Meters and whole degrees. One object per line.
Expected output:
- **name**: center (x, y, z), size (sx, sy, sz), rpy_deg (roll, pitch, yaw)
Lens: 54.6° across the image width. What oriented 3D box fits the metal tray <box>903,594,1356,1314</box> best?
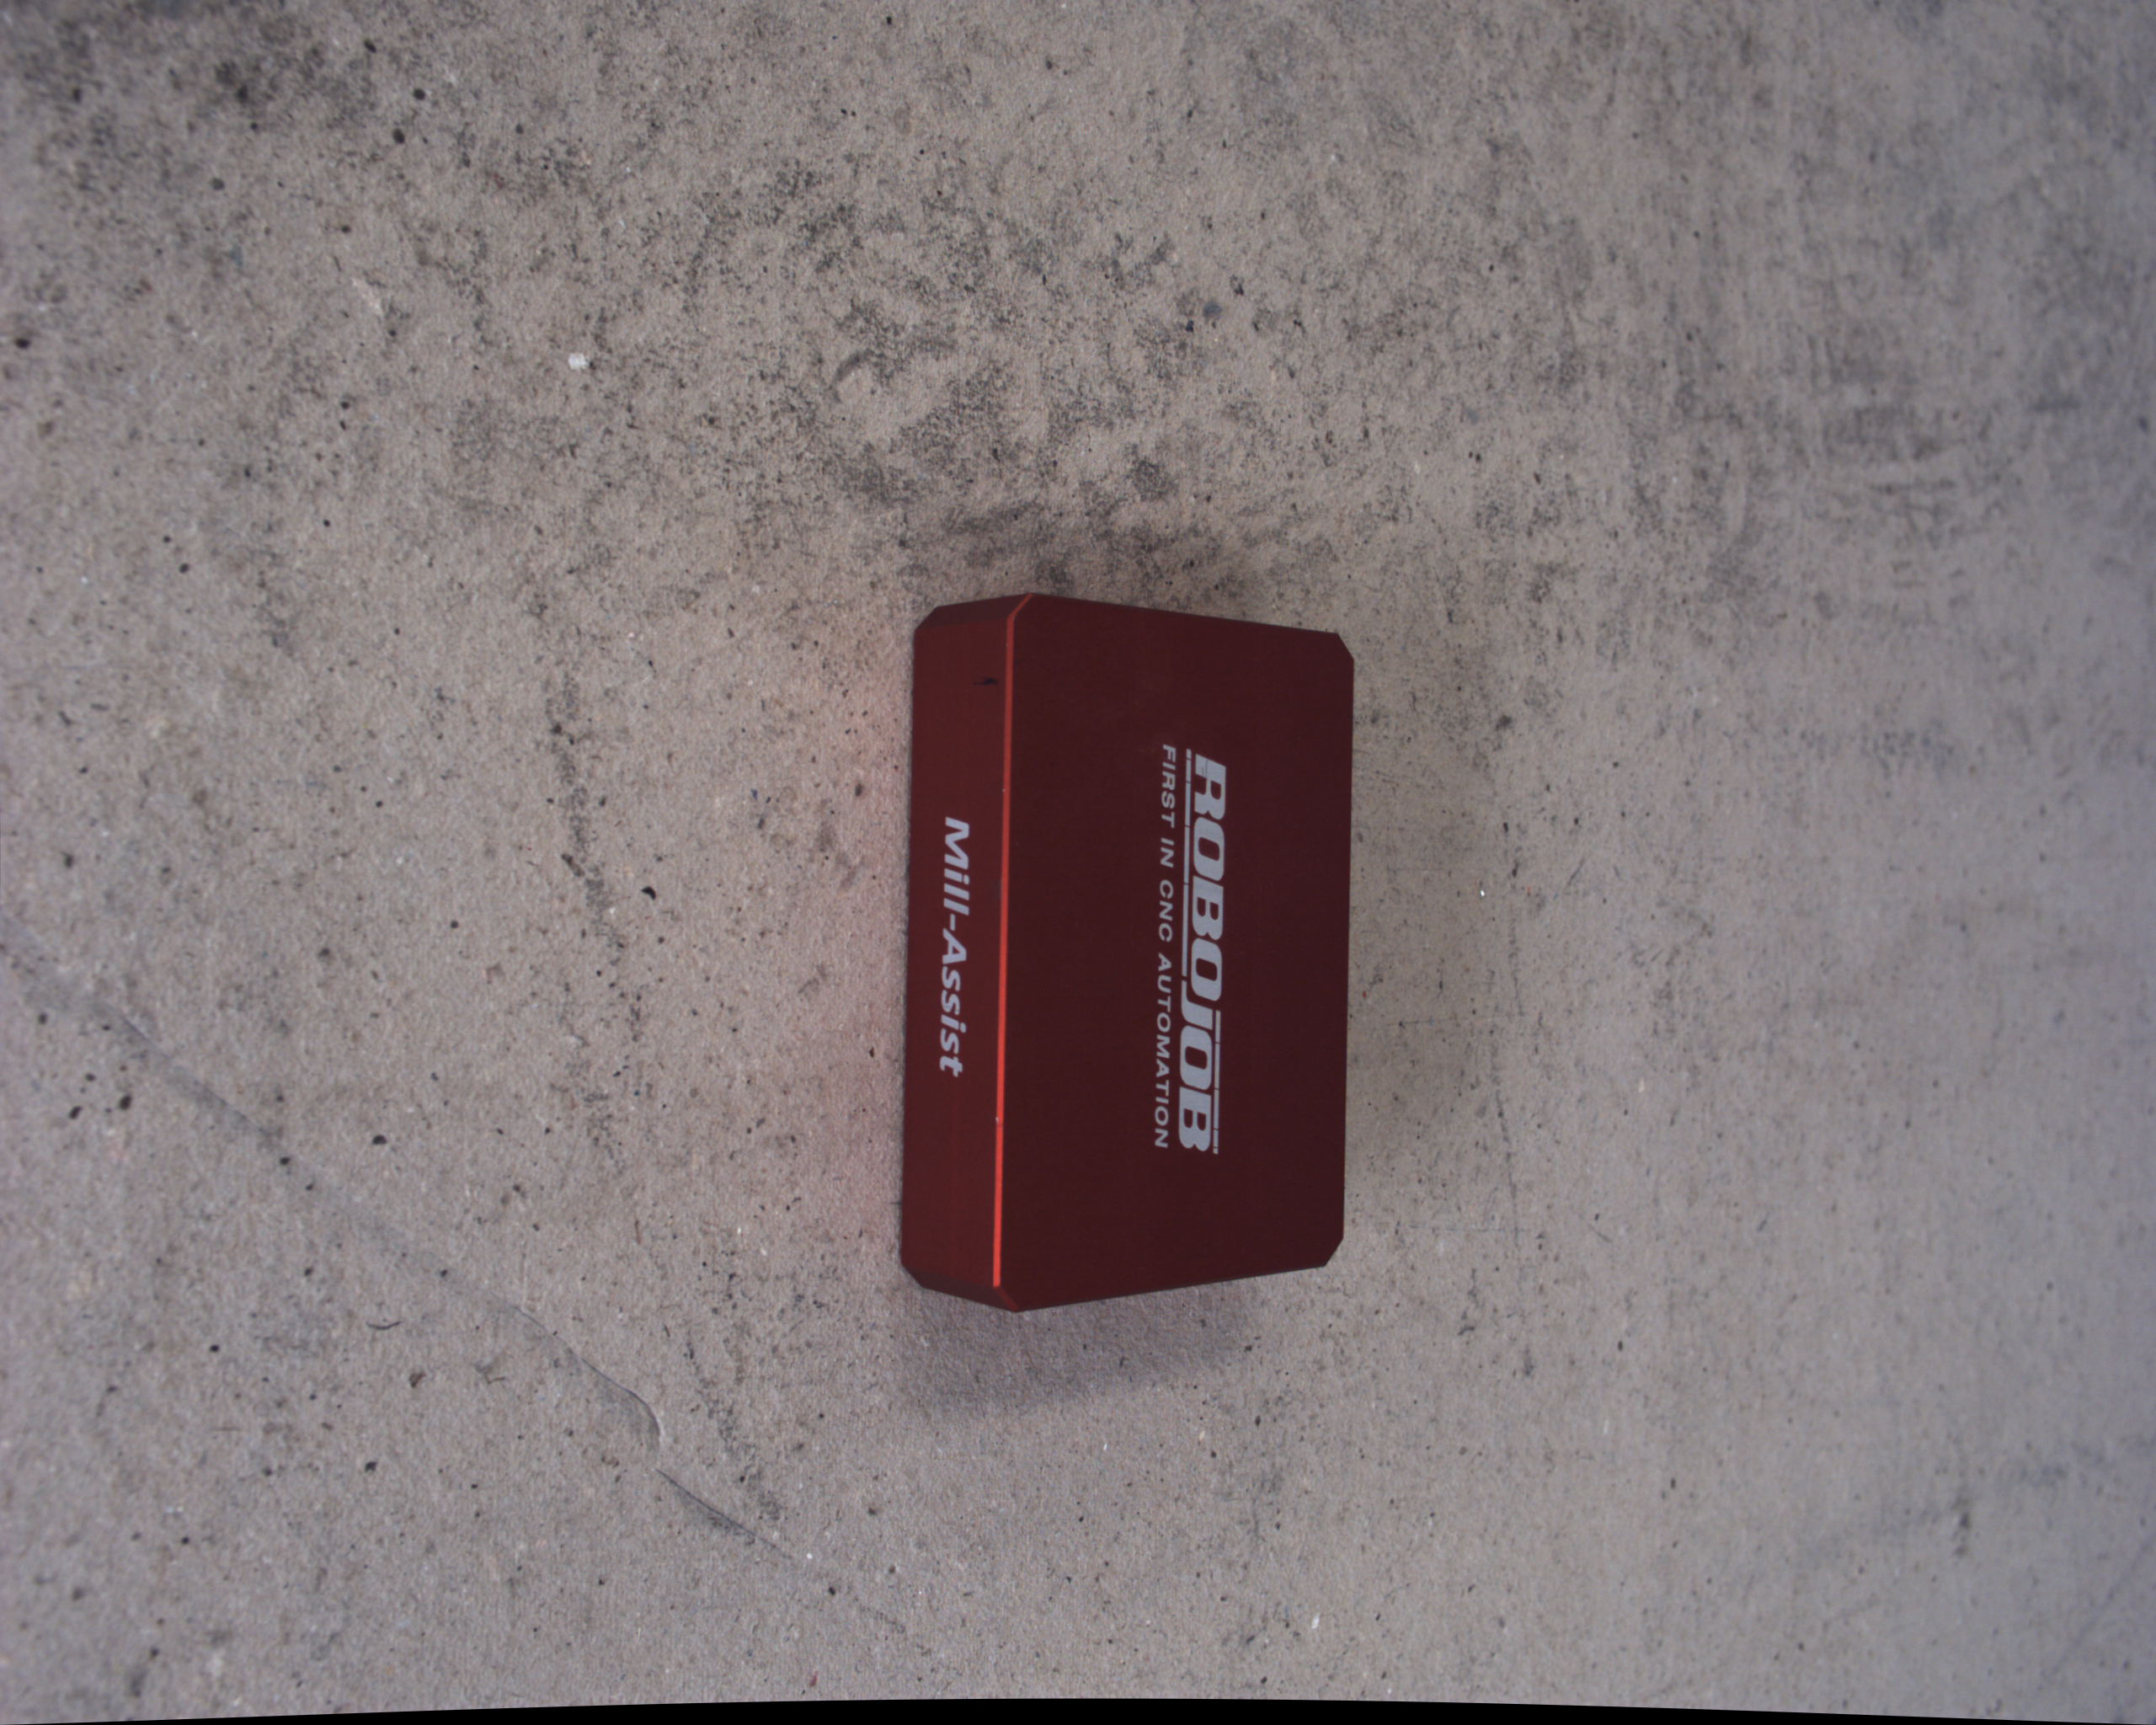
- **metal tray**: center (0.012, 0.017, 0.412), size (0.091, 0.030, 0.129), rpy_deg (1, 90, -40)
